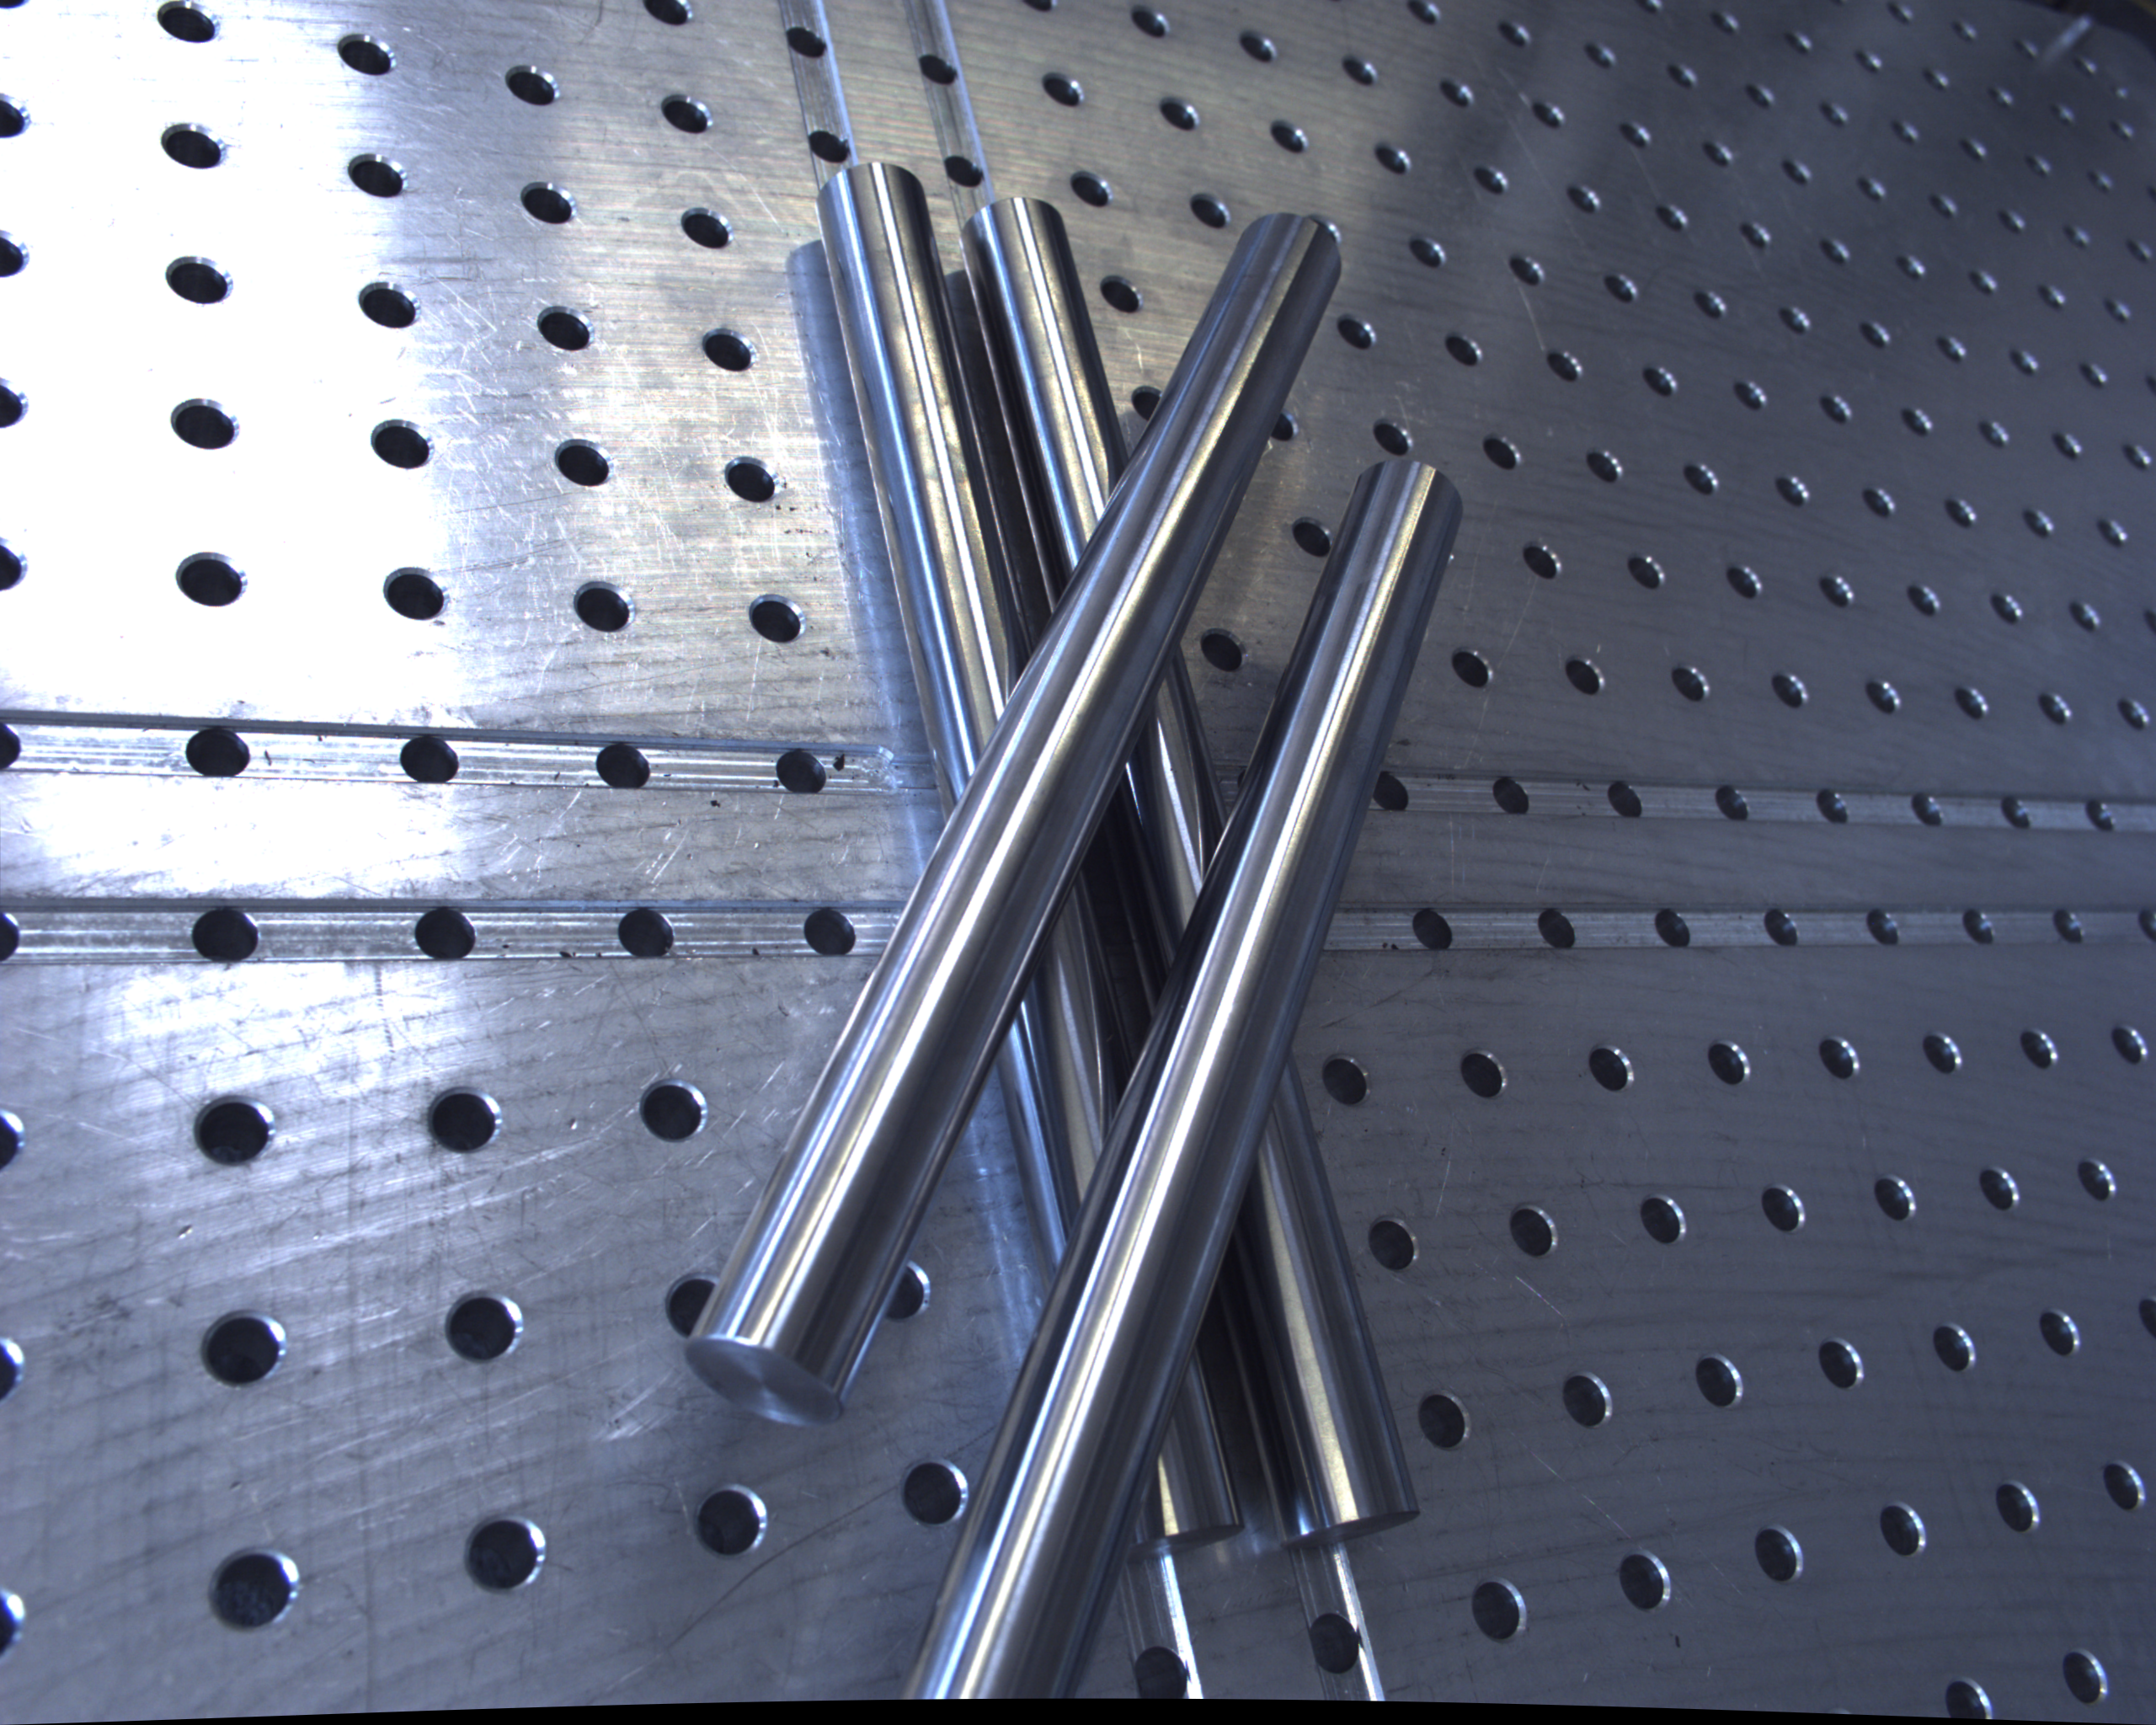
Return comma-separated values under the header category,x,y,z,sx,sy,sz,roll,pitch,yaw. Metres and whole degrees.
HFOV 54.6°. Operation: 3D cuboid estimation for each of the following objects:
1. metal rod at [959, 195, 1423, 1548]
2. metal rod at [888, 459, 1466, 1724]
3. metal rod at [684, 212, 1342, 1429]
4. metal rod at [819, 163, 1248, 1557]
category,x,y,z,sx,sy,sz,roll,pitch,yaw
metal rod,0.016,-0.016,0.426,0.025,0.025,0.299,1,61,-28
metal rod,0.027,0.029,0.372,0.025,0.025,0.301,30,52,-9
metal rod,0.002,-0.033,0.397,0.025,0.025,0.301,31,52,-9
metal rod,-0.015,-0.018,0.411,0.025,0.025,0.299,1,61,-28
